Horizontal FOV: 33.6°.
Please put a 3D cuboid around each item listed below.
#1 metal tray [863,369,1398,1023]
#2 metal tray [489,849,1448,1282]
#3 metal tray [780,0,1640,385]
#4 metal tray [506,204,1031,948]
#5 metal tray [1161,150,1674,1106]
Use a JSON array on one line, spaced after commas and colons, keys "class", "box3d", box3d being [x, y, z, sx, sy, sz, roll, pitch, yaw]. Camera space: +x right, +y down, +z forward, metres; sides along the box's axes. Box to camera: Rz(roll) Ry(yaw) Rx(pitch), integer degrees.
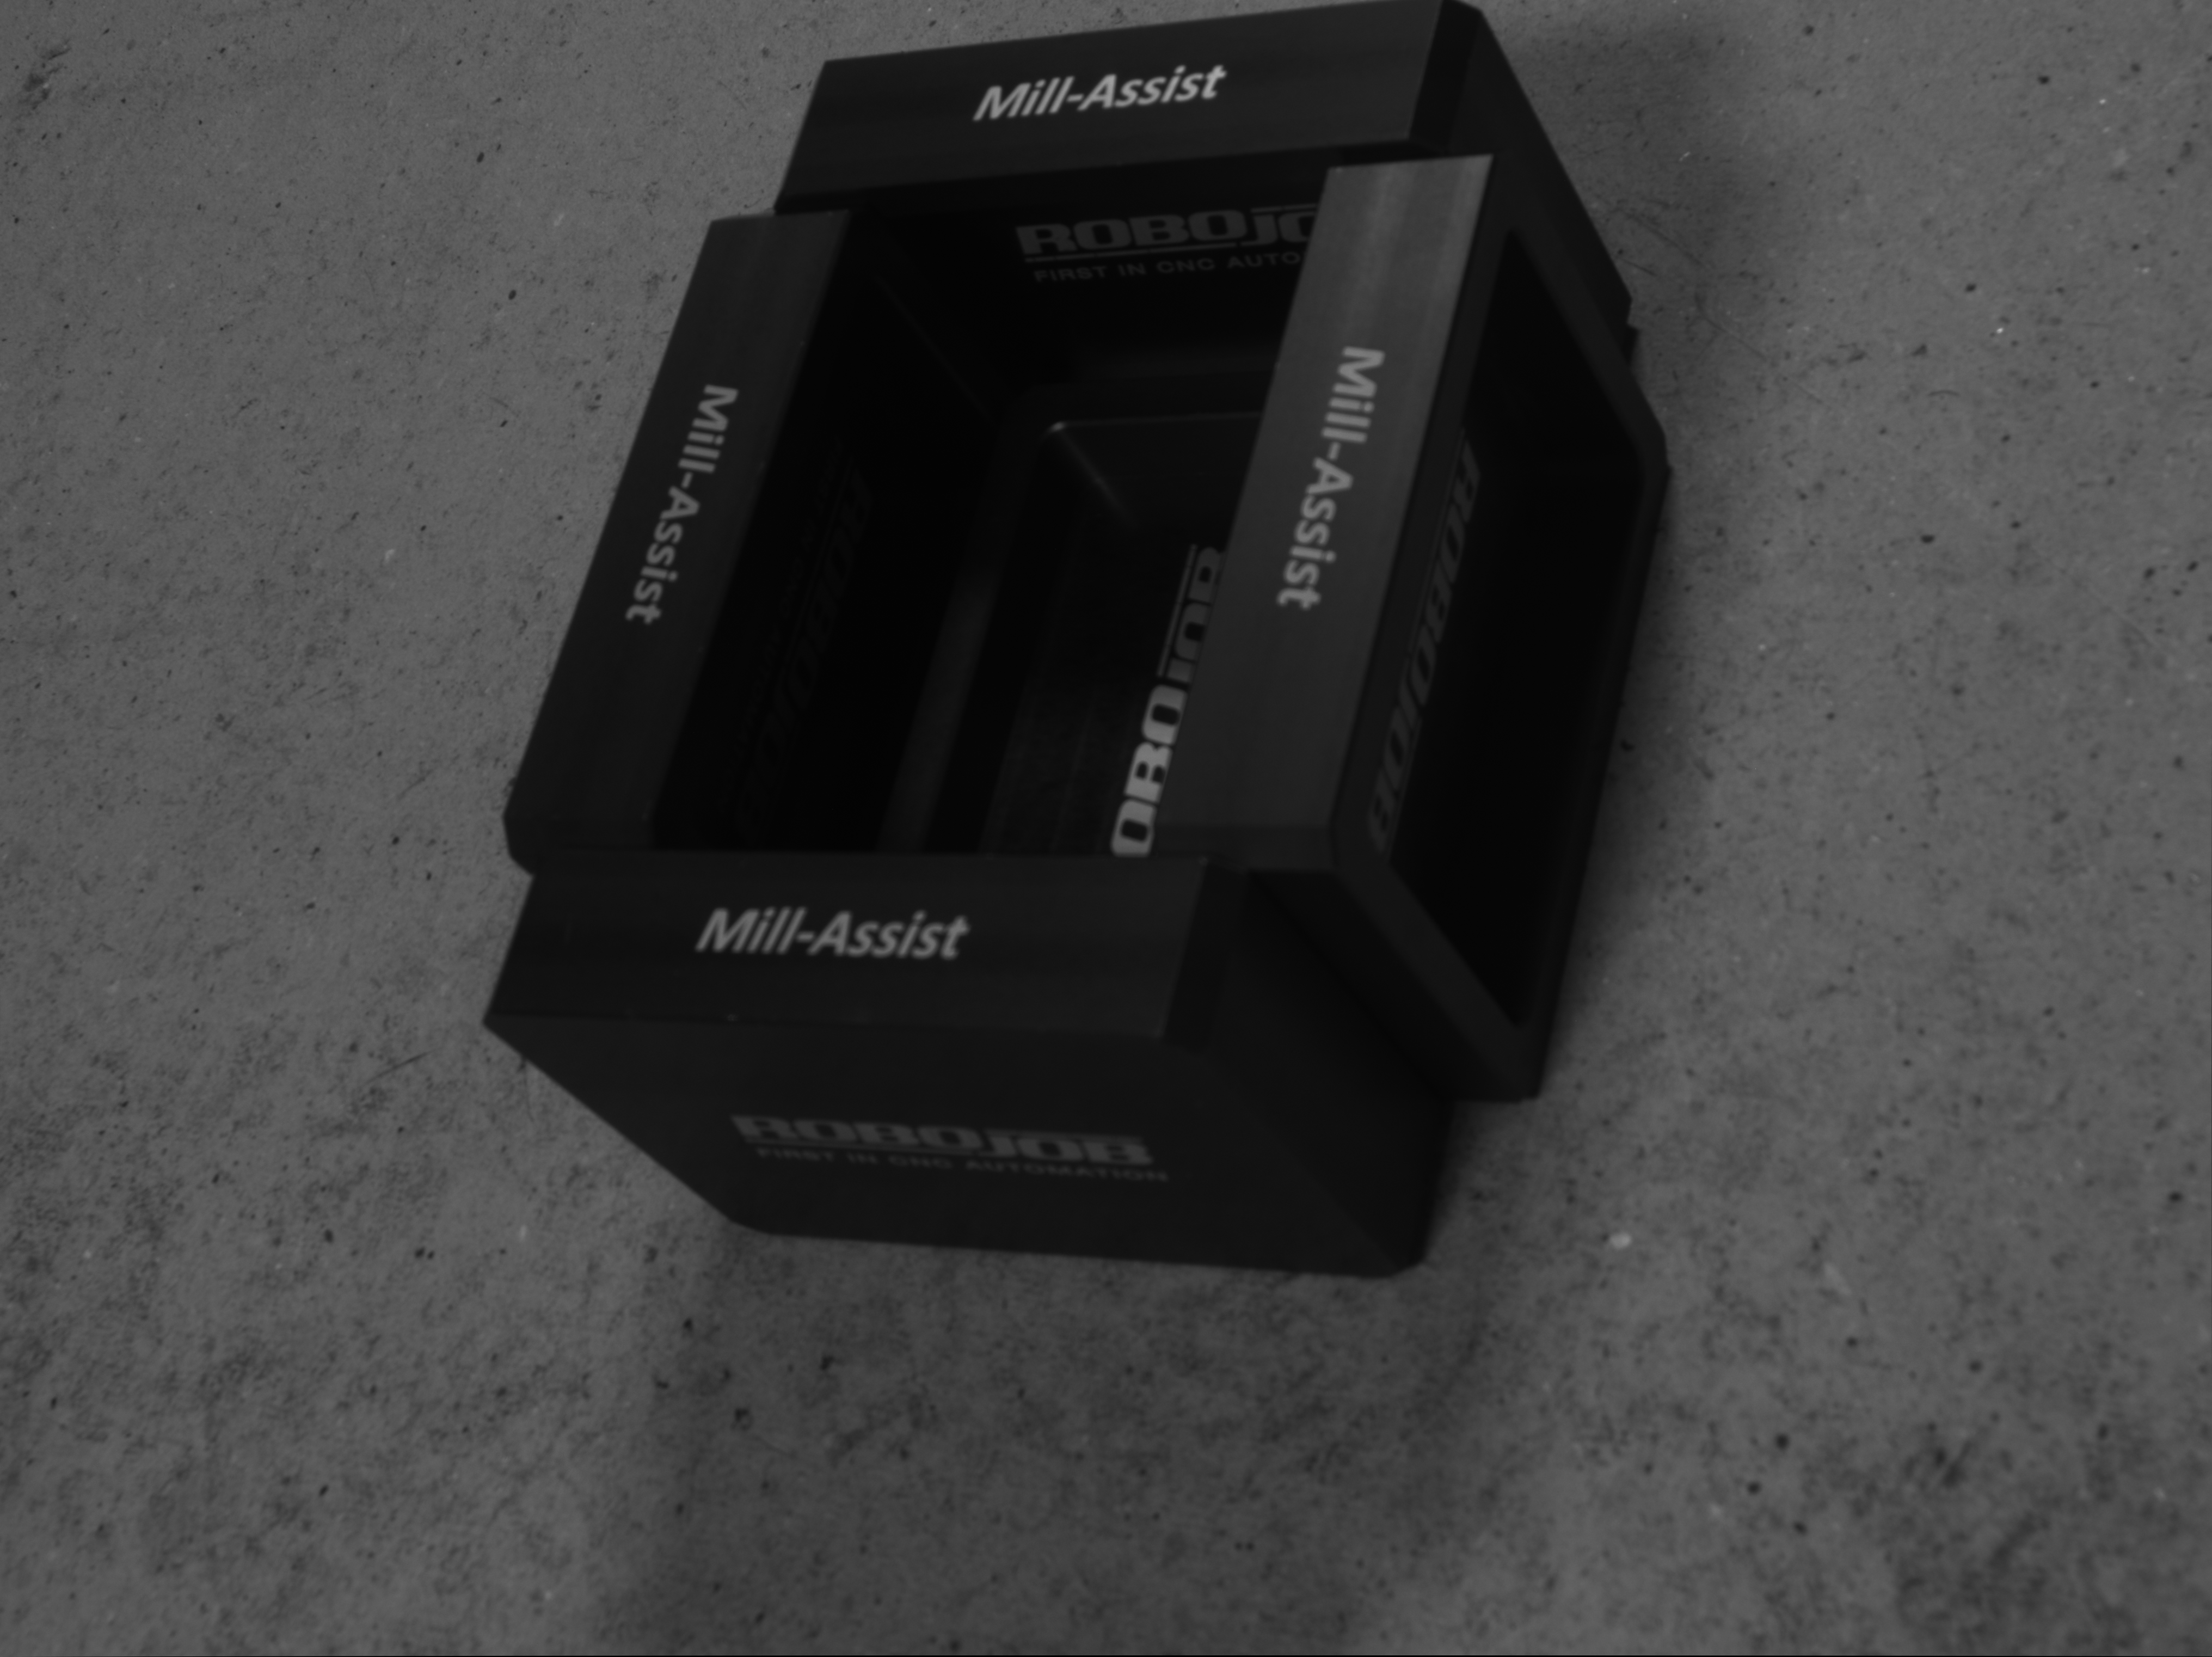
[{"class": "metal tray", "box3d": [0.013, -0.018, 0.645, 0.090, 0.030, 0.130, 1, 62, 29]}, {"class": "metal tray", "box3d": [-0.021, 0.038, 0.590, 0.130, 0.090, 0.030, 1, 62, 29]}, {"class": "metal tray", "box3d": [0.019, -0.103, 0.655, 0.130, 0.090, 0.030, 1, 62, 29]}, {"class": "metal tray", "box3d": [-0.052, -0.033, 0.650, 0.030, 0.090, 0.130, 1, 62, 29]}, {"class": "metal tray", "box3d": [0.054, -0.032, 0.592, 0.030, 0.090, 0.130, 1, 62, 29]}]
